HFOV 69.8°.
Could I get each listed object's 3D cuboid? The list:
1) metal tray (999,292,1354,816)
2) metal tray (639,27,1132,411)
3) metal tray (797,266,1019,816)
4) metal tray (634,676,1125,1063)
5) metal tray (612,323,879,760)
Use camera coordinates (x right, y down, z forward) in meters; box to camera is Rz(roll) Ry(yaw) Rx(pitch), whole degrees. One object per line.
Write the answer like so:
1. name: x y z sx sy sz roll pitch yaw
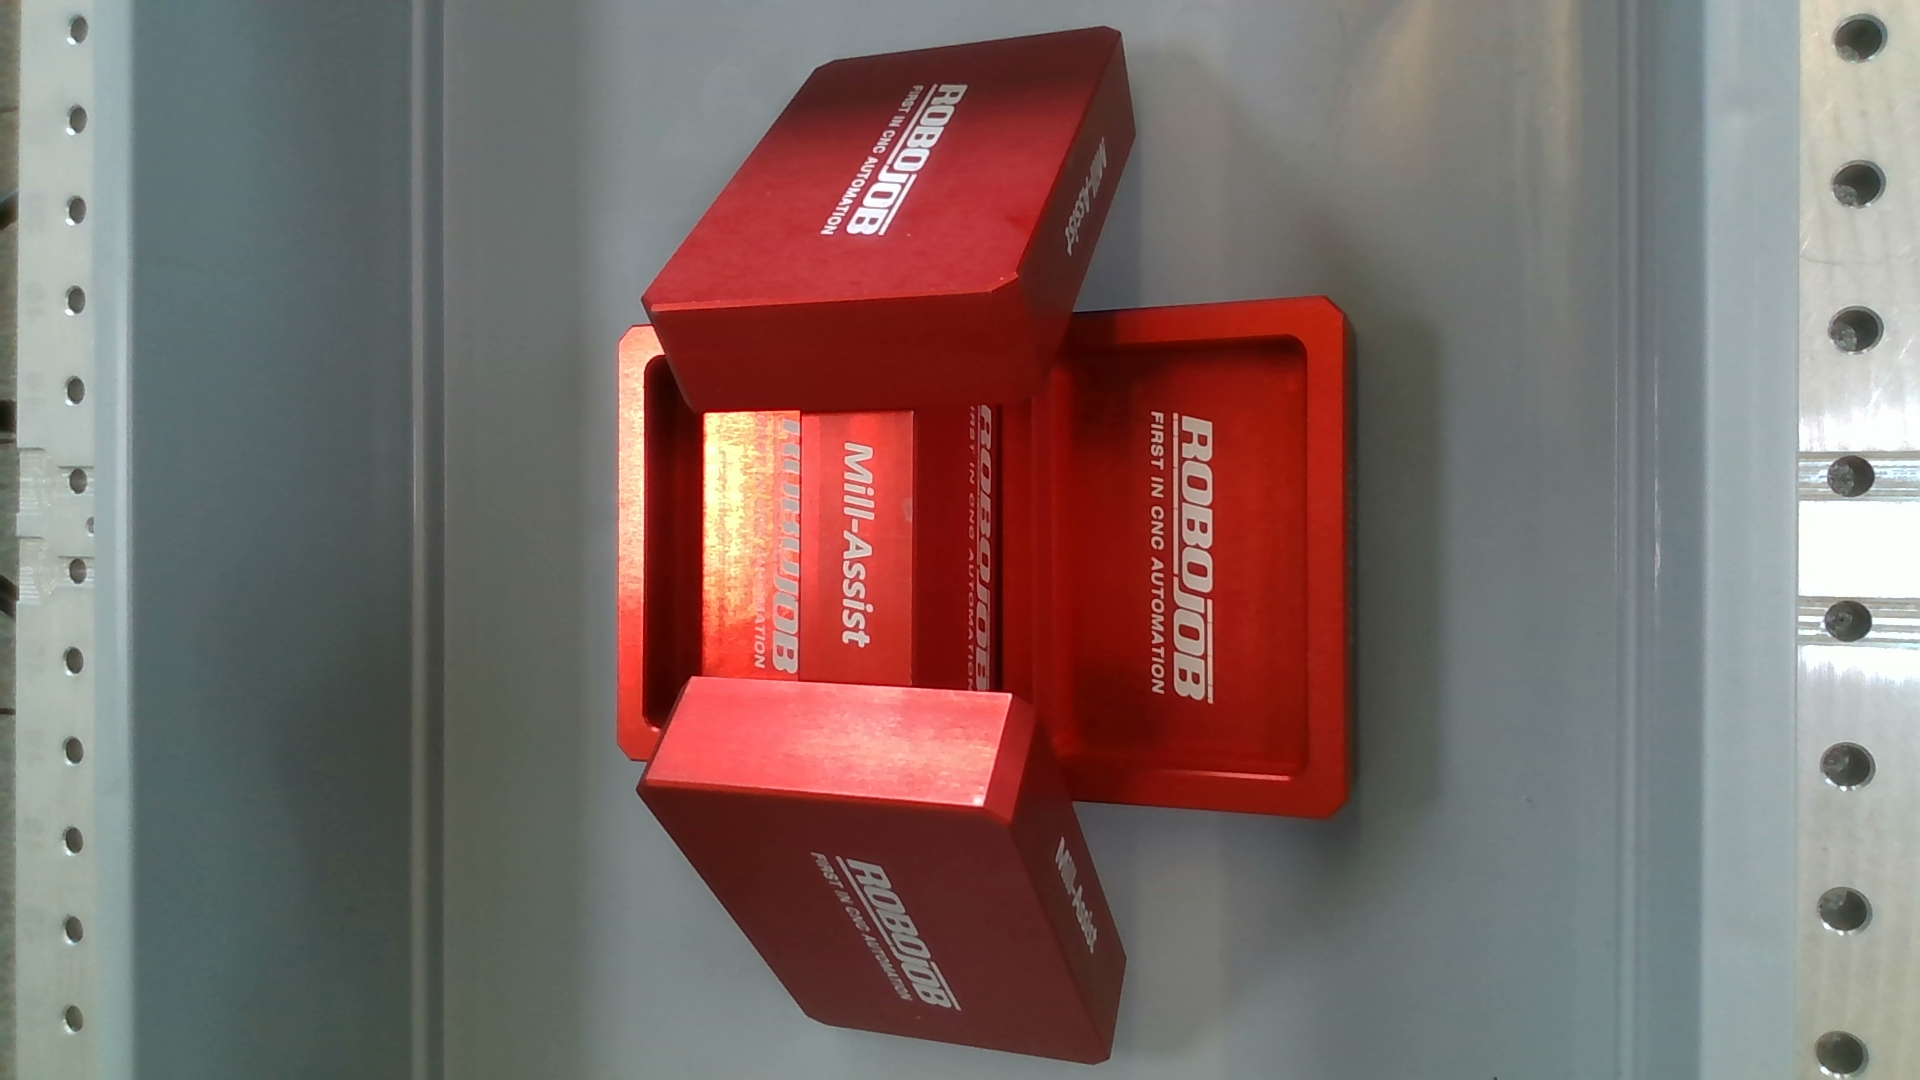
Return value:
1. metal tray: 0.058 0.004 0.369 0.090 0.030 0.130 0 91 21
2. metal tray: -0.012 -0.084 0.348 0.090 0.130 0.030 0 132 20
3. metal tray: -0.009 0.000 0.362 0.030 0.090 0.130 0 91 20
4. metal tray: -0.014 0.087 0.349 0.090 0.130 0.030 1 48 20
5. metal tray: -0.057 0.001 0.409 0.090 0.030 0.130 0 91 20
